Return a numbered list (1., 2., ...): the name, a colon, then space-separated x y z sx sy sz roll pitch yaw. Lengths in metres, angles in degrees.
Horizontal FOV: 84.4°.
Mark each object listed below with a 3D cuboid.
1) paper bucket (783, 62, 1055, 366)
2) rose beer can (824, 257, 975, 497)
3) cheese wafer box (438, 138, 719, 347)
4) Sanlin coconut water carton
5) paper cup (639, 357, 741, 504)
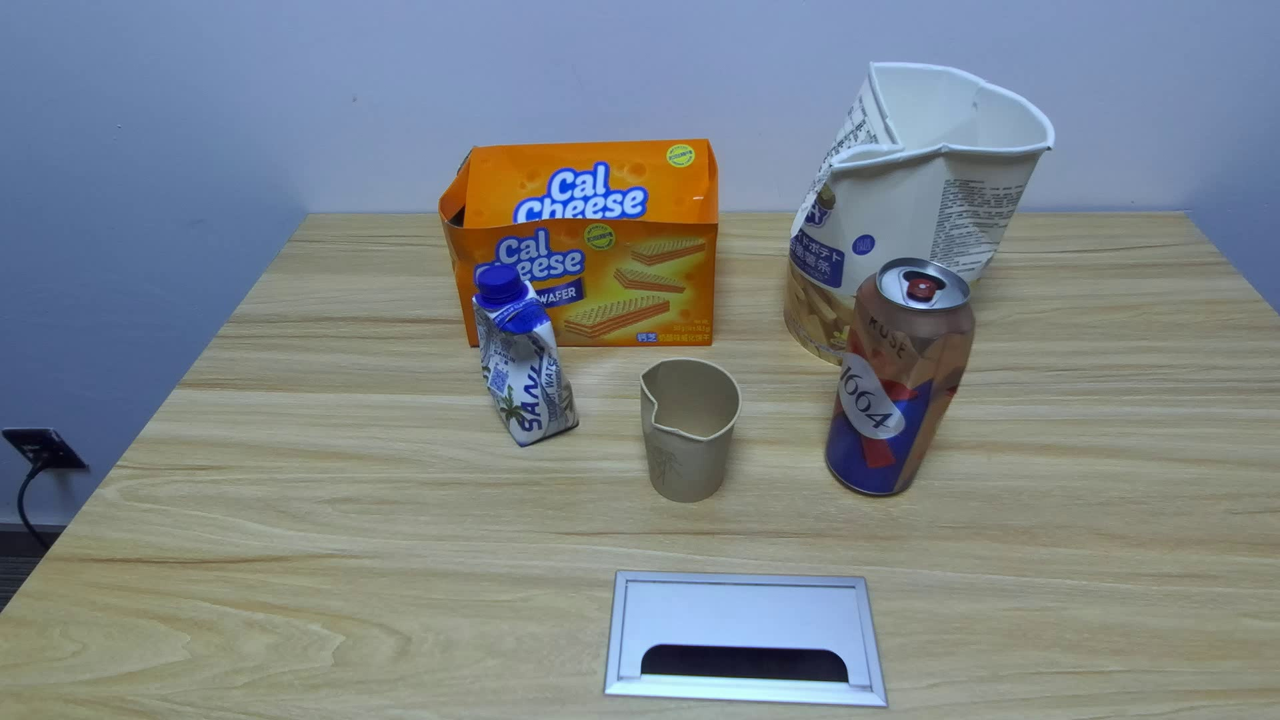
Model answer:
1. paper bucket: 0.200 -0.116 0.582 0.169 0.202 0.162 -4 42 -5
2. rose beer can: 0.168 0.017 0.463 0.065 0.167 0.075 -5 39 -5
3. cheese wafer box: -0.046 -0.102 0.633 0.230 0.132 0.152 0 43 3
4. Sanlin coconut water carton: -0.087 0.002 0.512 0.057 0.145 0.068 -25 53 -12
5. paper cup: 0.033 0.052 0.490 0.073 0.081 0.069 13 45 16
